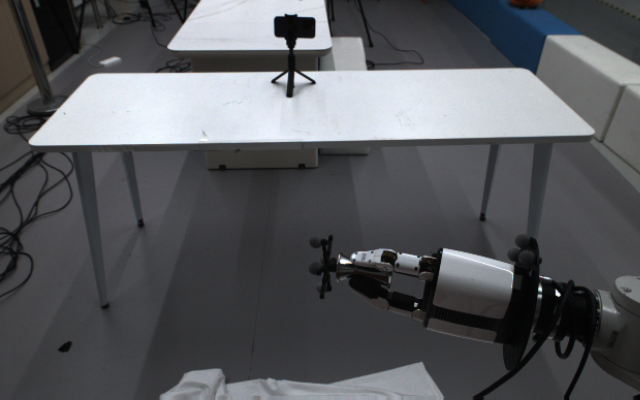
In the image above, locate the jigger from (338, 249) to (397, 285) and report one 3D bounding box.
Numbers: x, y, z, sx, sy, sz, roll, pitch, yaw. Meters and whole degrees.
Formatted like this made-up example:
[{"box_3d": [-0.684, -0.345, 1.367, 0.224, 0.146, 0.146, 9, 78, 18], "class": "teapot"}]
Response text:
[{"box_3d": [0.066, 0.086, 0.633, 0.071, 0.043, 0.043, 2, 34, 13], "class": "jigger"}]
